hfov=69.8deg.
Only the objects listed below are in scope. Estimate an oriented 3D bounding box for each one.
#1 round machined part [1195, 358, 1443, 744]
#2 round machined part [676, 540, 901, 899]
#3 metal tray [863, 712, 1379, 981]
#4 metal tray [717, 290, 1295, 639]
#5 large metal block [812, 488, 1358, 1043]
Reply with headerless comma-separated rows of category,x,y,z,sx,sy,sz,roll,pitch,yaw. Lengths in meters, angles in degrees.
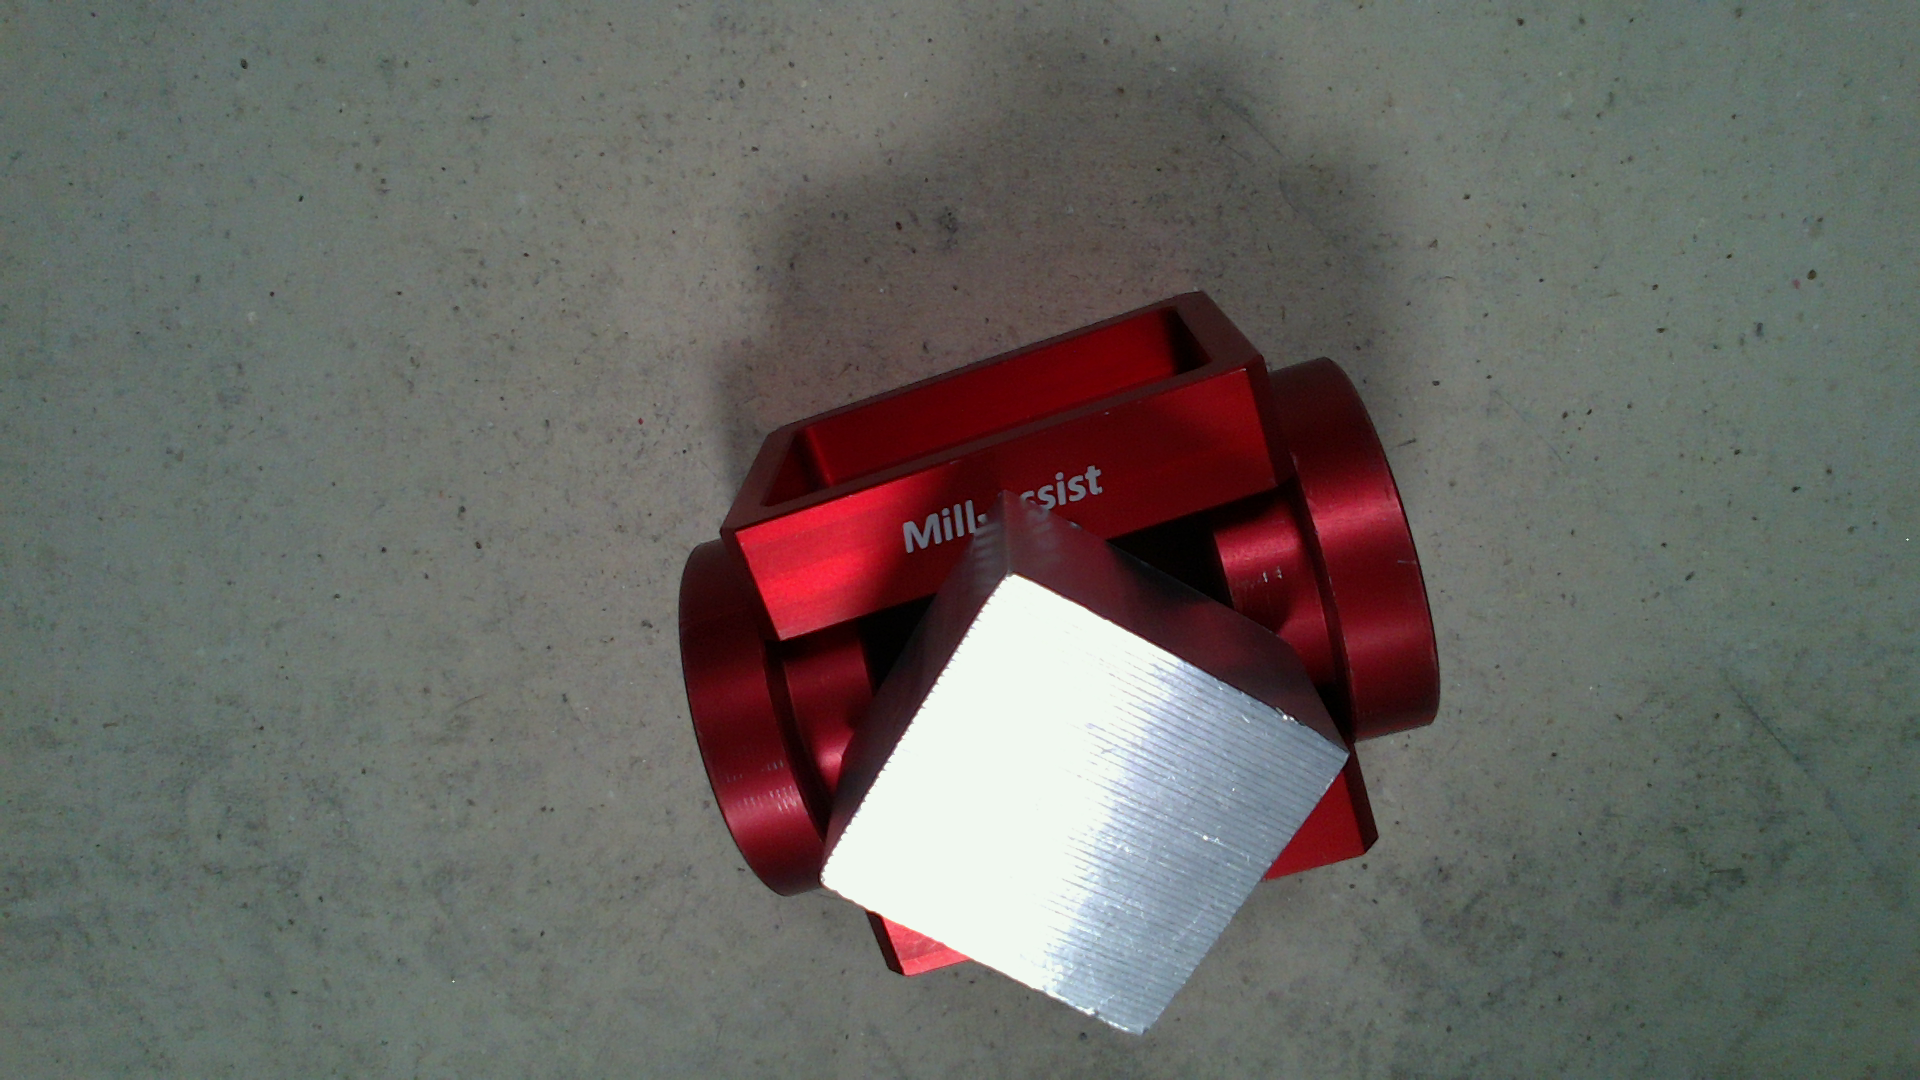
round machined part,0.087,0.006,0.357,0.042,0.098,0.098,-15,110,5
round machined part,-0.038,0.043,0.370,0.042,0.098,0.098,-15,110,5
metal tray,0.039,0.067,0.383,0.130,0.090,0.030,-17,109,6
metal tray,0.010,-0.023,0.352,0.130,0.090,0.030,-17,109,6
large metal block,0.024,0.048,0.300,0.080,0.050,0.080,28,108,-10
